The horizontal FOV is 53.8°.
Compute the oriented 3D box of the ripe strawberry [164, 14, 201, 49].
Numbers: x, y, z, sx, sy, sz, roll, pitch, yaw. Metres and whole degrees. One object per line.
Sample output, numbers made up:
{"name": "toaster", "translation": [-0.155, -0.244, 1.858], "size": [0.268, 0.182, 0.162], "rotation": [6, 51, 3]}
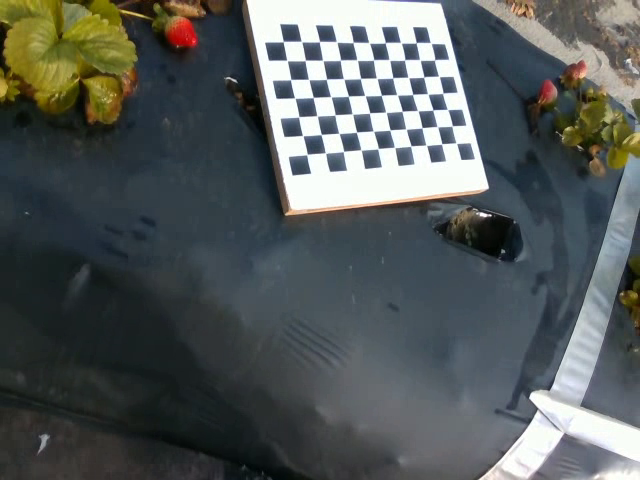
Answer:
{"name": "ripe strawberry", "translation": [-0.154, -0.230, 0.697], "size": [0.035, 0.043, 0.029], "rotation": [-49, 3, -28]}
